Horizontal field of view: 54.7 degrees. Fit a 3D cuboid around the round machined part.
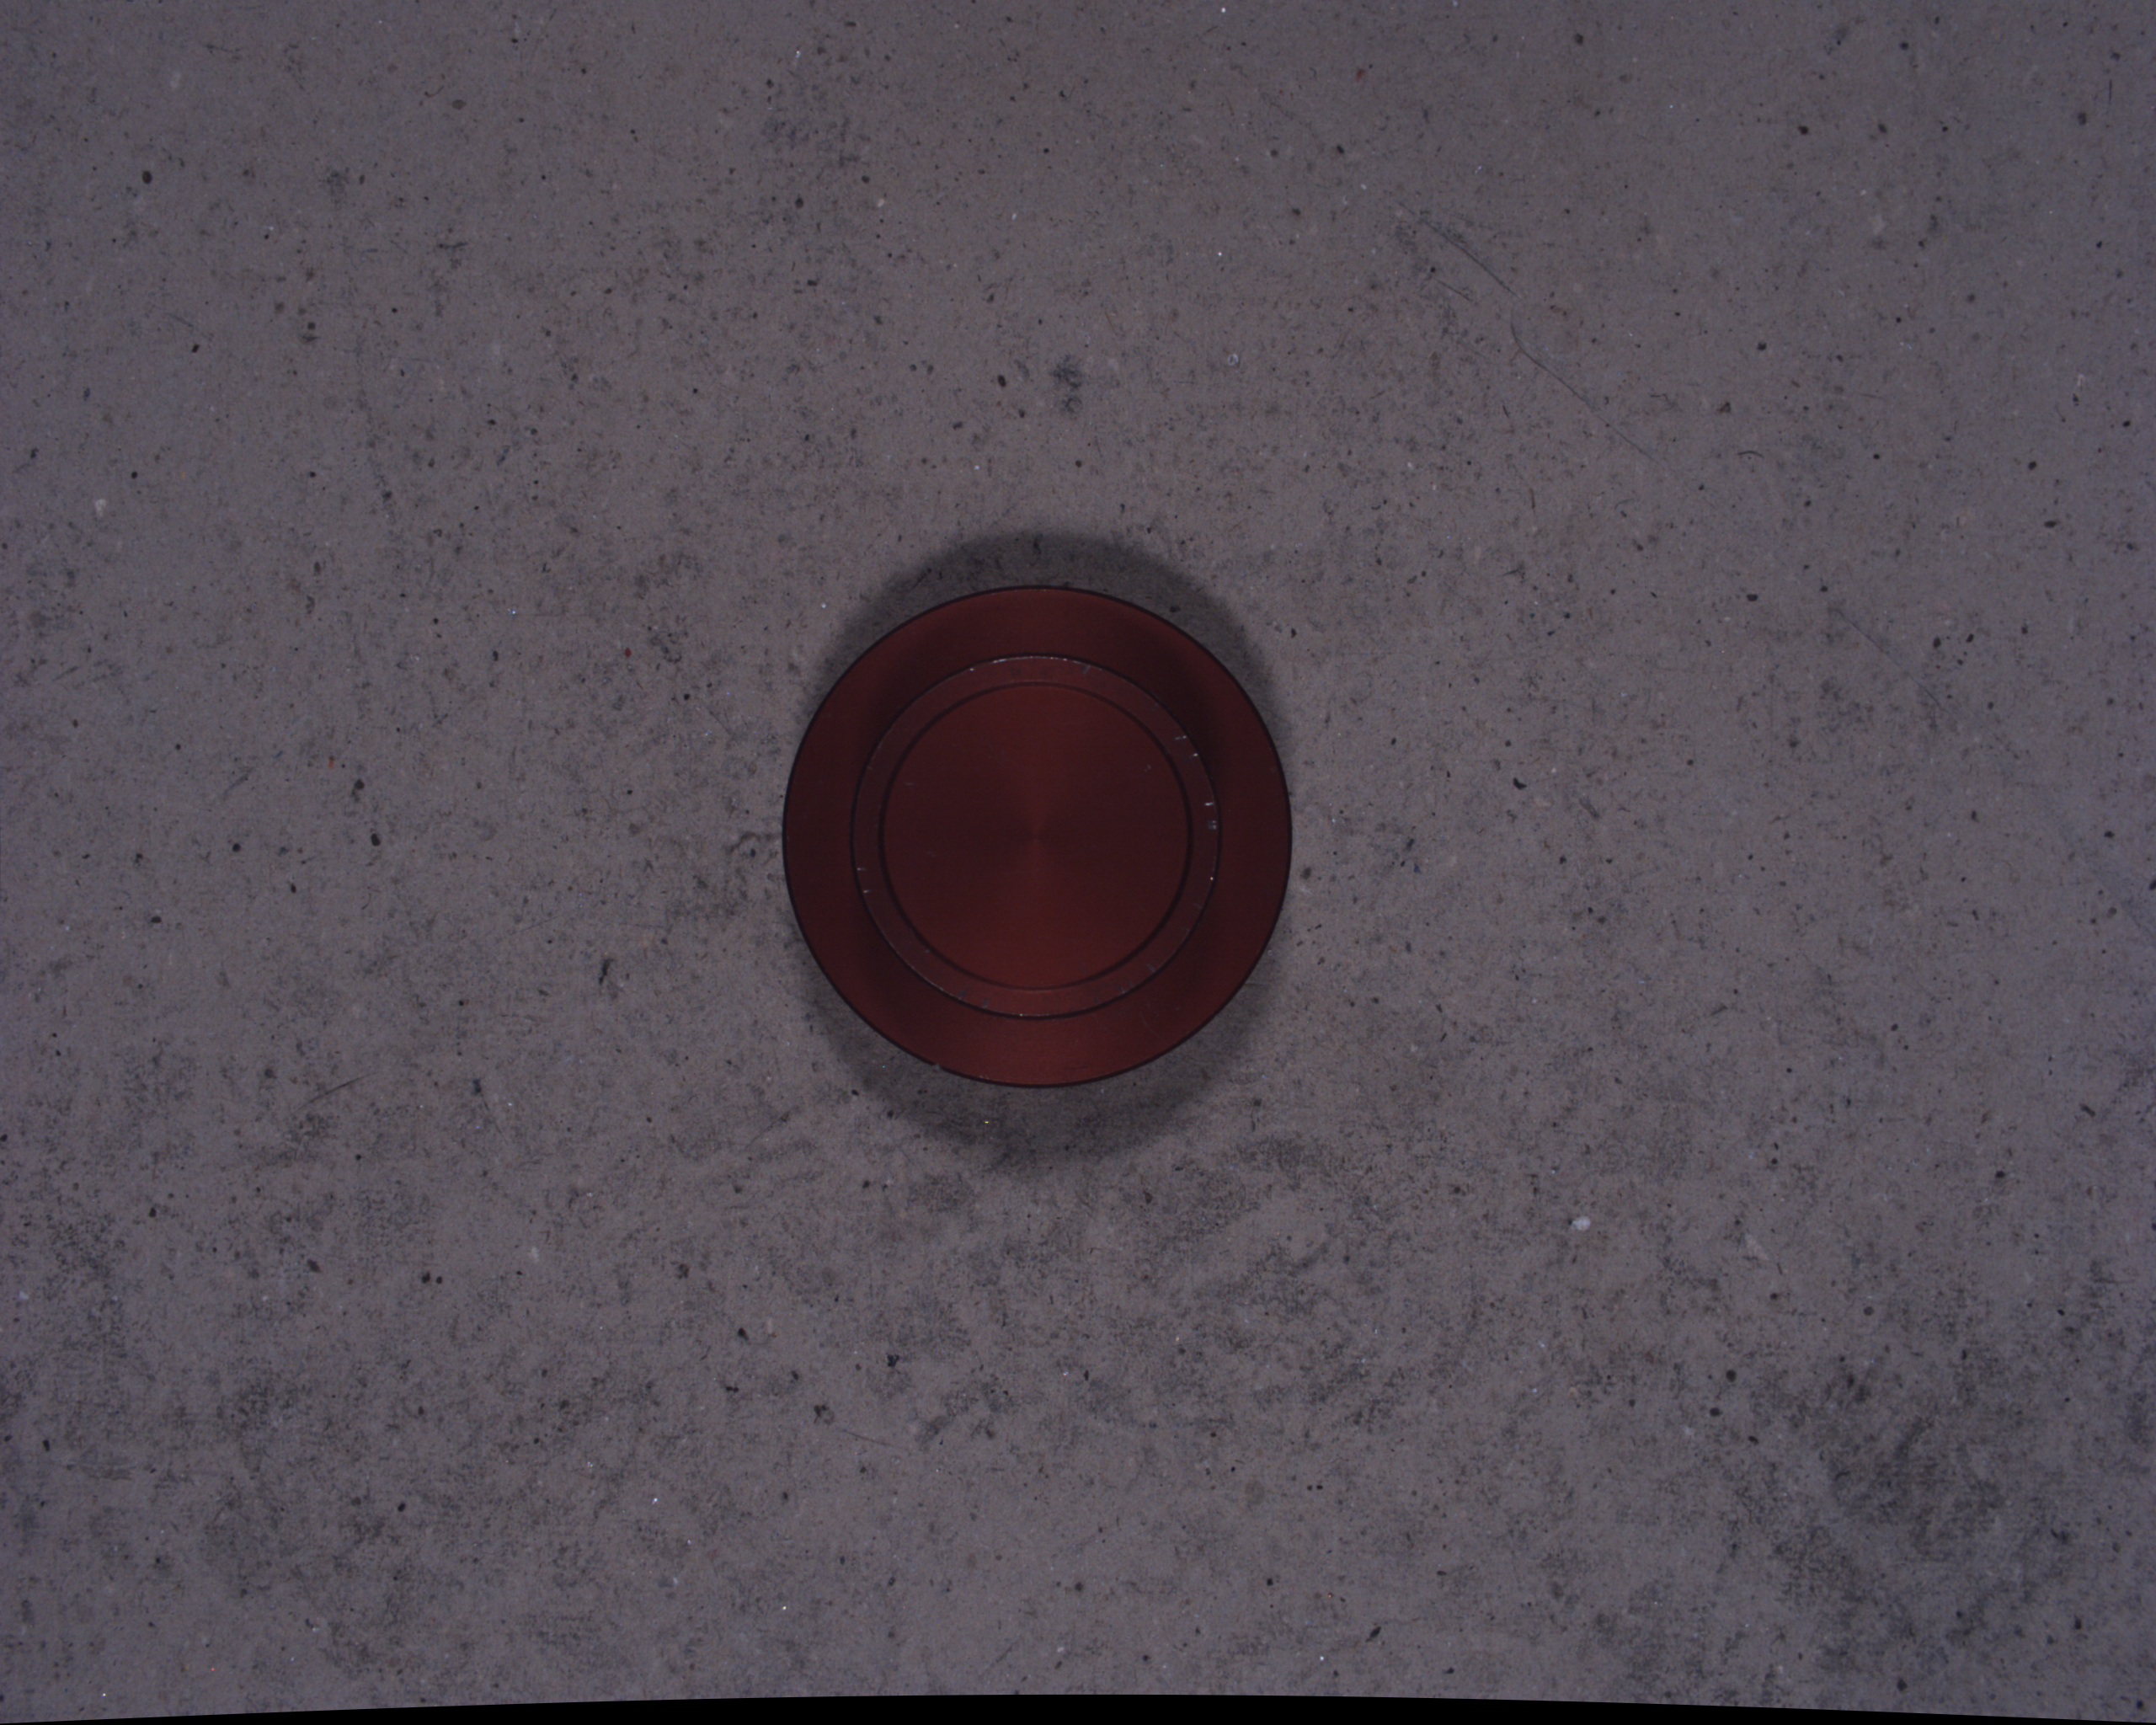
[{"bbox_3d":[-0.008,-0.005,0.402,0.099,0.042,0.097,0,90,-1],"label":"round machined part"}]
